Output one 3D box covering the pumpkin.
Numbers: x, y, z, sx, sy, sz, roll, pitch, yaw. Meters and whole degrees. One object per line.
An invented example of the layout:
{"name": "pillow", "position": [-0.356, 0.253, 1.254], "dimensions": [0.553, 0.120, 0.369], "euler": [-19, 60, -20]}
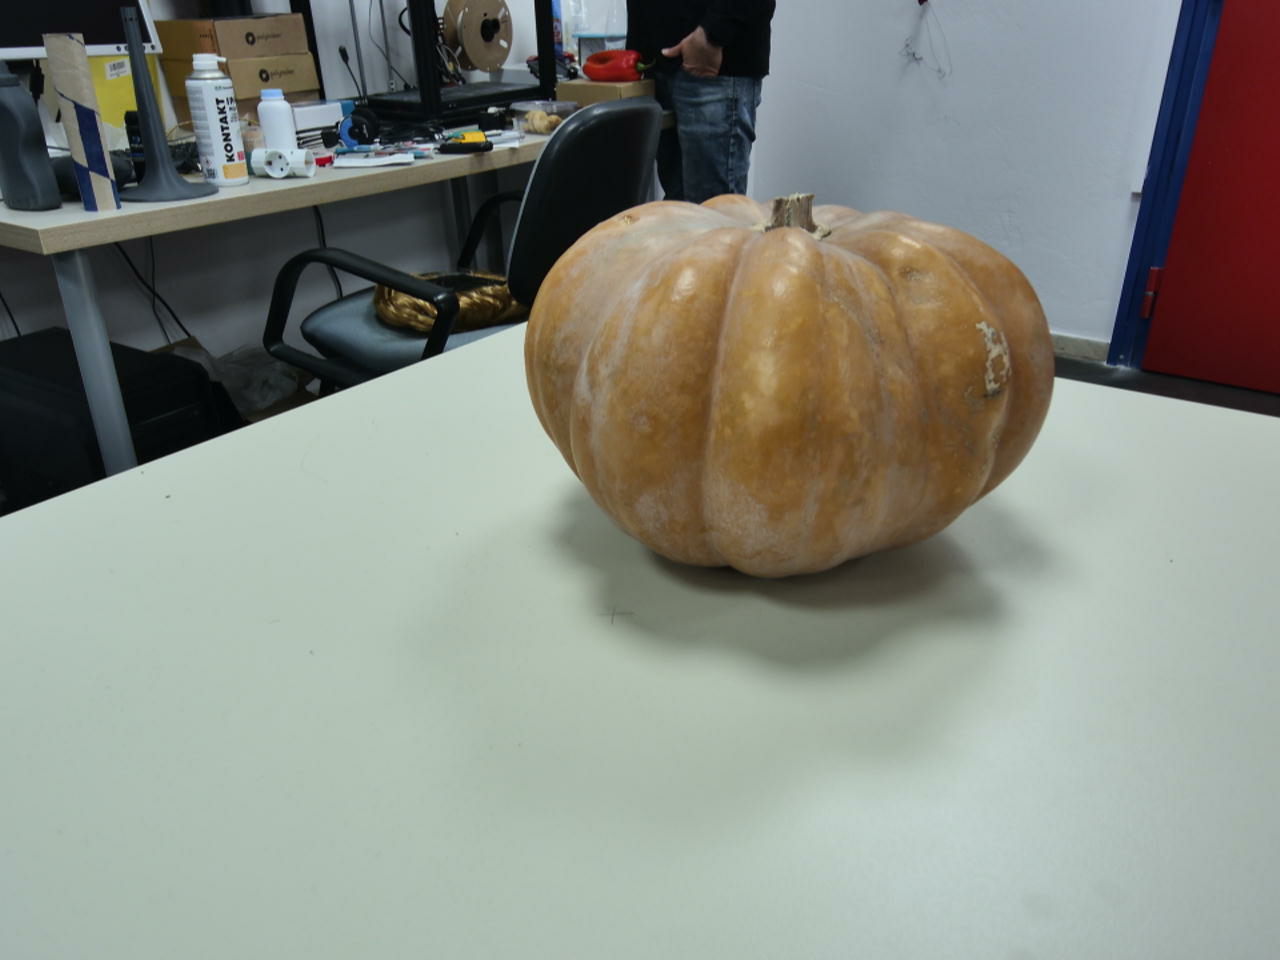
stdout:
{"name": "pumpkin", "position": [0.071, -0.059, 0.535], "dimensions": [0.277, 0.181, 0.277], "euler": [0, 24, 0]}
